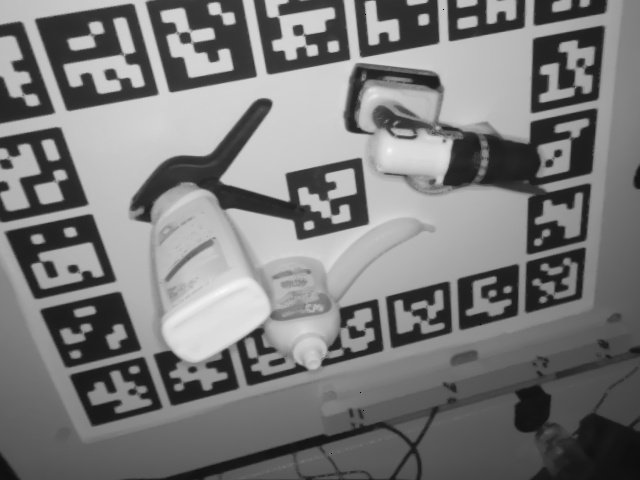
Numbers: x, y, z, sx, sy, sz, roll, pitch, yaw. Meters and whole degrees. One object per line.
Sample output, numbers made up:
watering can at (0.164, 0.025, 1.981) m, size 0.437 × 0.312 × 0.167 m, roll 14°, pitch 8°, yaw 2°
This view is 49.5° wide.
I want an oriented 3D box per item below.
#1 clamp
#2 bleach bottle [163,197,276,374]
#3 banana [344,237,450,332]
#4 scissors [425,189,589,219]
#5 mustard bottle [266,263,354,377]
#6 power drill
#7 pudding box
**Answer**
clamp at (-0.111, -0.047, 0.811) m, size 0.203 × 0.037 × 0.164 m, roll -17°, pitch 119°, yaw -2°
bleach bottle at (-0.125, 0.024, 0.725) m, size 0.103 × 0.250 × 0.068 m, roll -31°, pitch 125°, yaw -3°
banana at (0.086, 0.058, 0.924) m, size 0.196 × 0.039 × 0.075 m, roll -46°, pitch 135°, yaw 13°
scissors at (0.223, -0.053, 0.798) m, size 0.204 × 0.016 × 0.087 m, roll 13°, pitch 111°, yaw -14°
mustard bottle at (-0.010, 0.099, 0.848) m, size 0.097 × 0.192 × 0.058 m, roll 2°, pitch 119°, yaw -12°
power drill at (0.148, -0.111, 0.734) m, size 0.186 × 0.187 × 0.057 m, roll -1°, pitch 126°, yaw -15°
pudding box at (0.202, -0.088, 0.849) m, size 0.114 × 0.090 × 0.038 m, roll -7°, pitch 127°, yaw -8°
